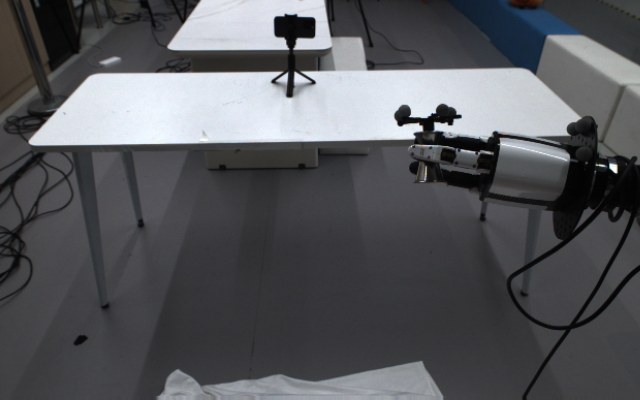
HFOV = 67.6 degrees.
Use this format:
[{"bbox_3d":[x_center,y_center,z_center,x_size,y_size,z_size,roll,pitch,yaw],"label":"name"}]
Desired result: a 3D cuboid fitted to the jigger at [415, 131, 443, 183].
[{"bbox_3d":[0.147,-0.059,0.658,0.043,0.071,0.043,-2,3,0],"label":"jigger"}]
